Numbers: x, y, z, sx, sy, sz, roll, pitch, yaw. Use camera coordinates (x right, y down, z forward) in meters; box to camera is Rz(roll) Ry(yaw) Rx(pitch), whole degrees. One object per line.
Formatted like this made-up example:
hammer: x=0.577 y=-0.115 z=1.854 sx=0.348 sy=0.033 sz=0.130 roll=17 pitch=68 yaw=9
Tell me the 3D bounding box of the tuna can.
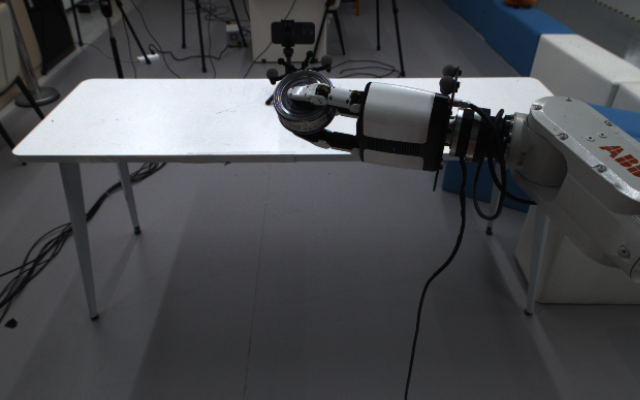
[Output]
tuna can: x=-0.017 y=-0.130 z=0.663 sx=0.085 sy=0.034 sz=0.085 roll=-4 pitch=68 yaw=9
